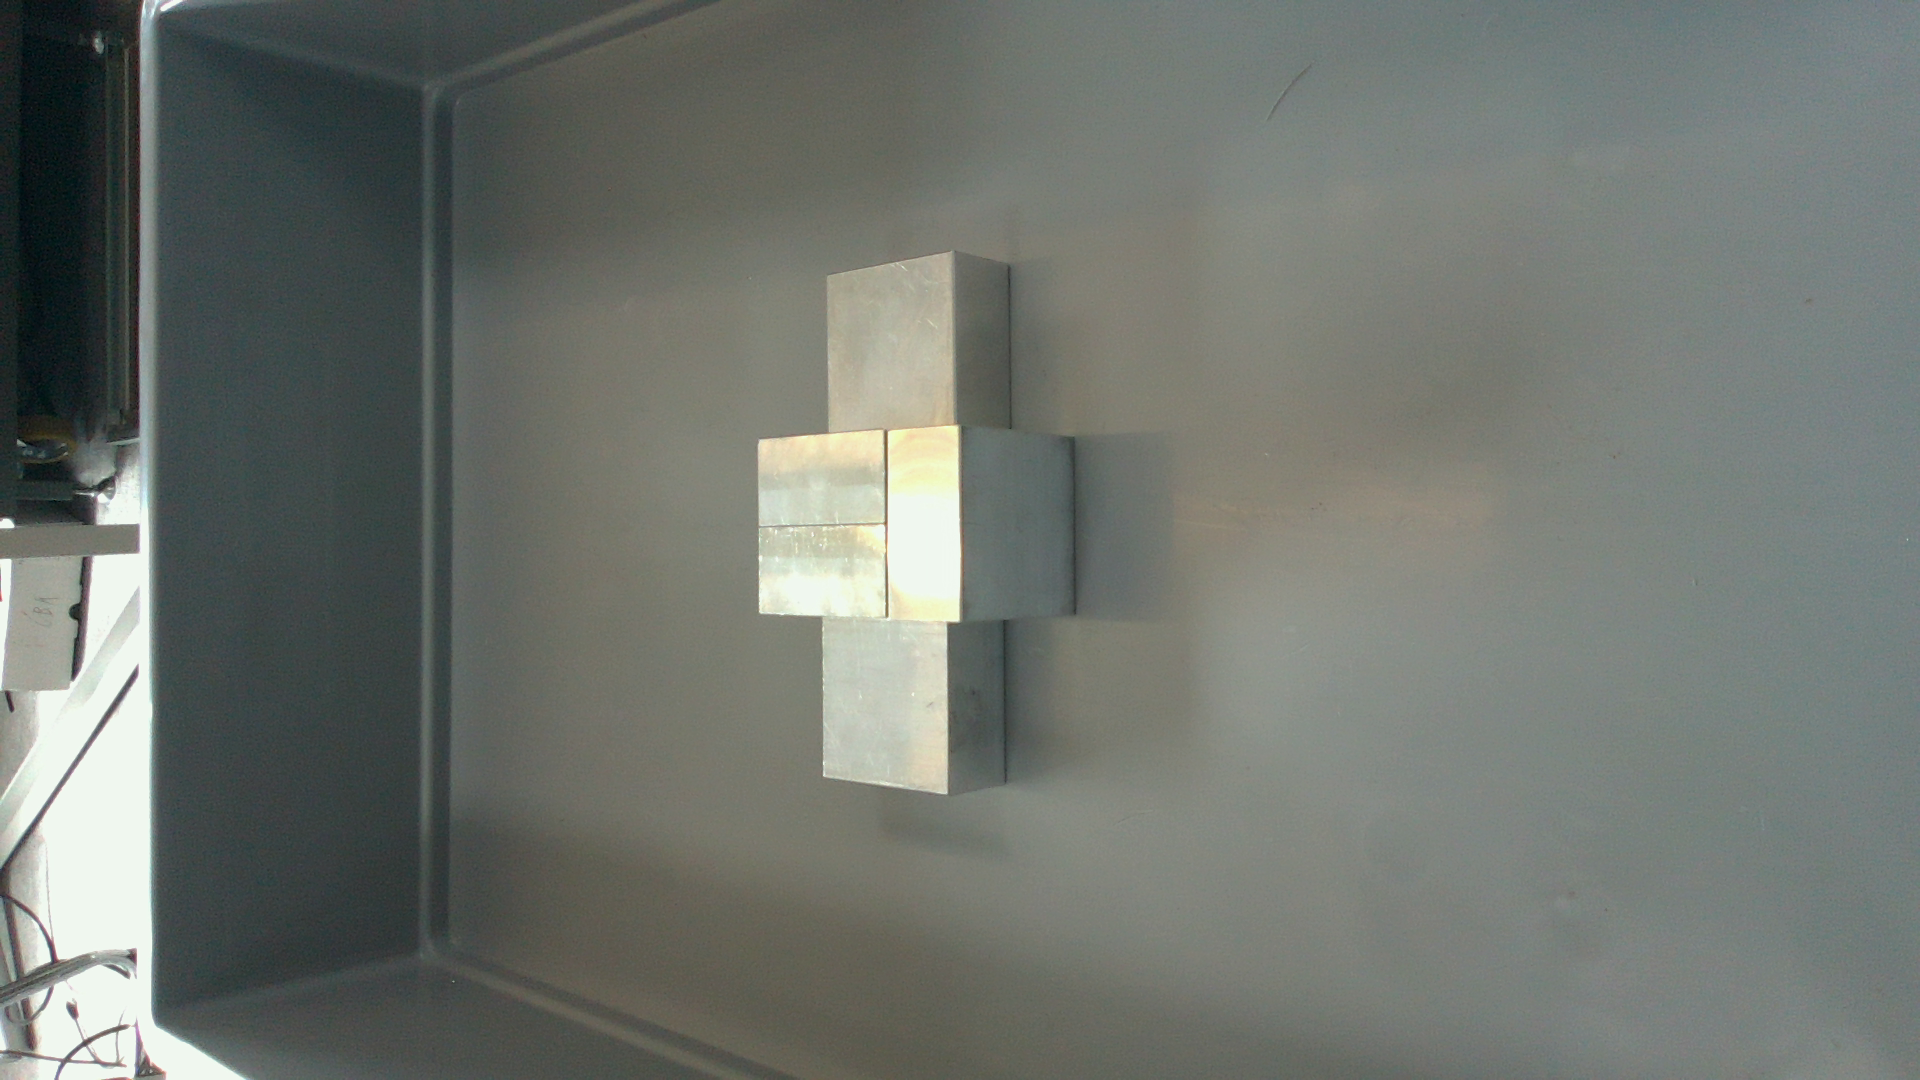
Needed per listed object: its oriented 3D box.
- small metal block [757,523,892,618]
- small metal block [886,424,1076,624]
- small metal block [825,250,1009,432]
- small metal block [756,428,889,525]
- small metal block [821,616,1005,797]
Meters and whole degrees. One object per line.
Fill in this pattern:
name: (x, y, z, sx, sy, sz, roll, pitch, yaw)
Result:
small metal block: (-0.023, 0.008, 0.396, 0.050, 0.050, 0.025, 0, 90, 40)
small metal block: (0.006, -0.004, 0.371, 0.025, 0.050, 0.050, 0, 90, 40)
small metal block: (-0.013, -0.055, 0.404, 0.050, 0.025, 0.050, 0, 90, 40)
small metal block: (-0.023, -0.017, 0.396, 0.050, 0.050, 0.025, 0, 90, 40)
small metal block: (-0.014, 0.046, 0.405, 0.050, 0.025, 0.050, 0, 90, 40)
